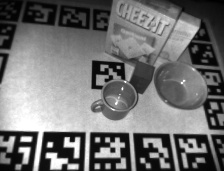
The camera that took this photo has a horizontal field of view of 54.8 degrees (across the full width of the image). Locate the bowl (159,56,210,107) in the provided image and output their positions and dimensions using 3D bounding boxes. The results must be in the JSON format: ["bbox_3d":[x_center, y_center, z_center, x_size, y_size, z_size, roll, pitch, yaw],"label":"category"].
[{"bbox_3d":[0.202,-0.003,0.625,0.162,0.055,0.161,5,62,-8],"label":"bowl"}]

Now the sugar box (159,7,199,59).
[{"bbox_3d":[0.178,-0.156,0.646,0.093,0.176,0.045,20,60,2],"label":"sugar box"}]

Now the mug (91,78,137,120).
[{"bbox_3d":[0.002,0.038,0.555,0.118,0.082,0.092,-6,54,-12],"label":"mug"}]

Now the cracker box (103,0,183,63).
[{"bbox_3d":[0.072,-0.158,0.606,0.164,0.213,0.072,28,58,5],"label":"cracker box"}]

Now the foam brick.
[{"bbox_3d":[0.080,-0.035,0.622,0.053,0.078,0.051,16,59,0],"label":"foam brick"}]
